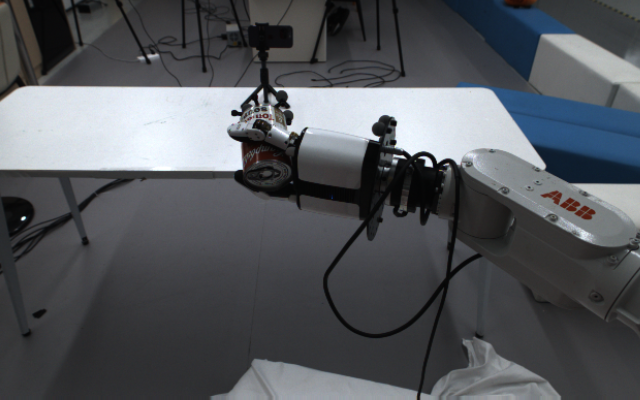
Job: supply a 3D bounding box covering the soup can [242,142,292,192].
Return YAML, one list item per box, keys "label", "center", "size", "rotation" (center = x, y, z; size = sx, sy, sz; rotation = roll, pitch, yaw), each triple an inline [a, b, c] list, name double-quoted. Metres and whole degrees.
- label: "soup can"
  center: [-0.075, -0.071, 0.660]
  size: [0.067, 0.067, 0.101]
  rotation: [-5, 57, -10]
